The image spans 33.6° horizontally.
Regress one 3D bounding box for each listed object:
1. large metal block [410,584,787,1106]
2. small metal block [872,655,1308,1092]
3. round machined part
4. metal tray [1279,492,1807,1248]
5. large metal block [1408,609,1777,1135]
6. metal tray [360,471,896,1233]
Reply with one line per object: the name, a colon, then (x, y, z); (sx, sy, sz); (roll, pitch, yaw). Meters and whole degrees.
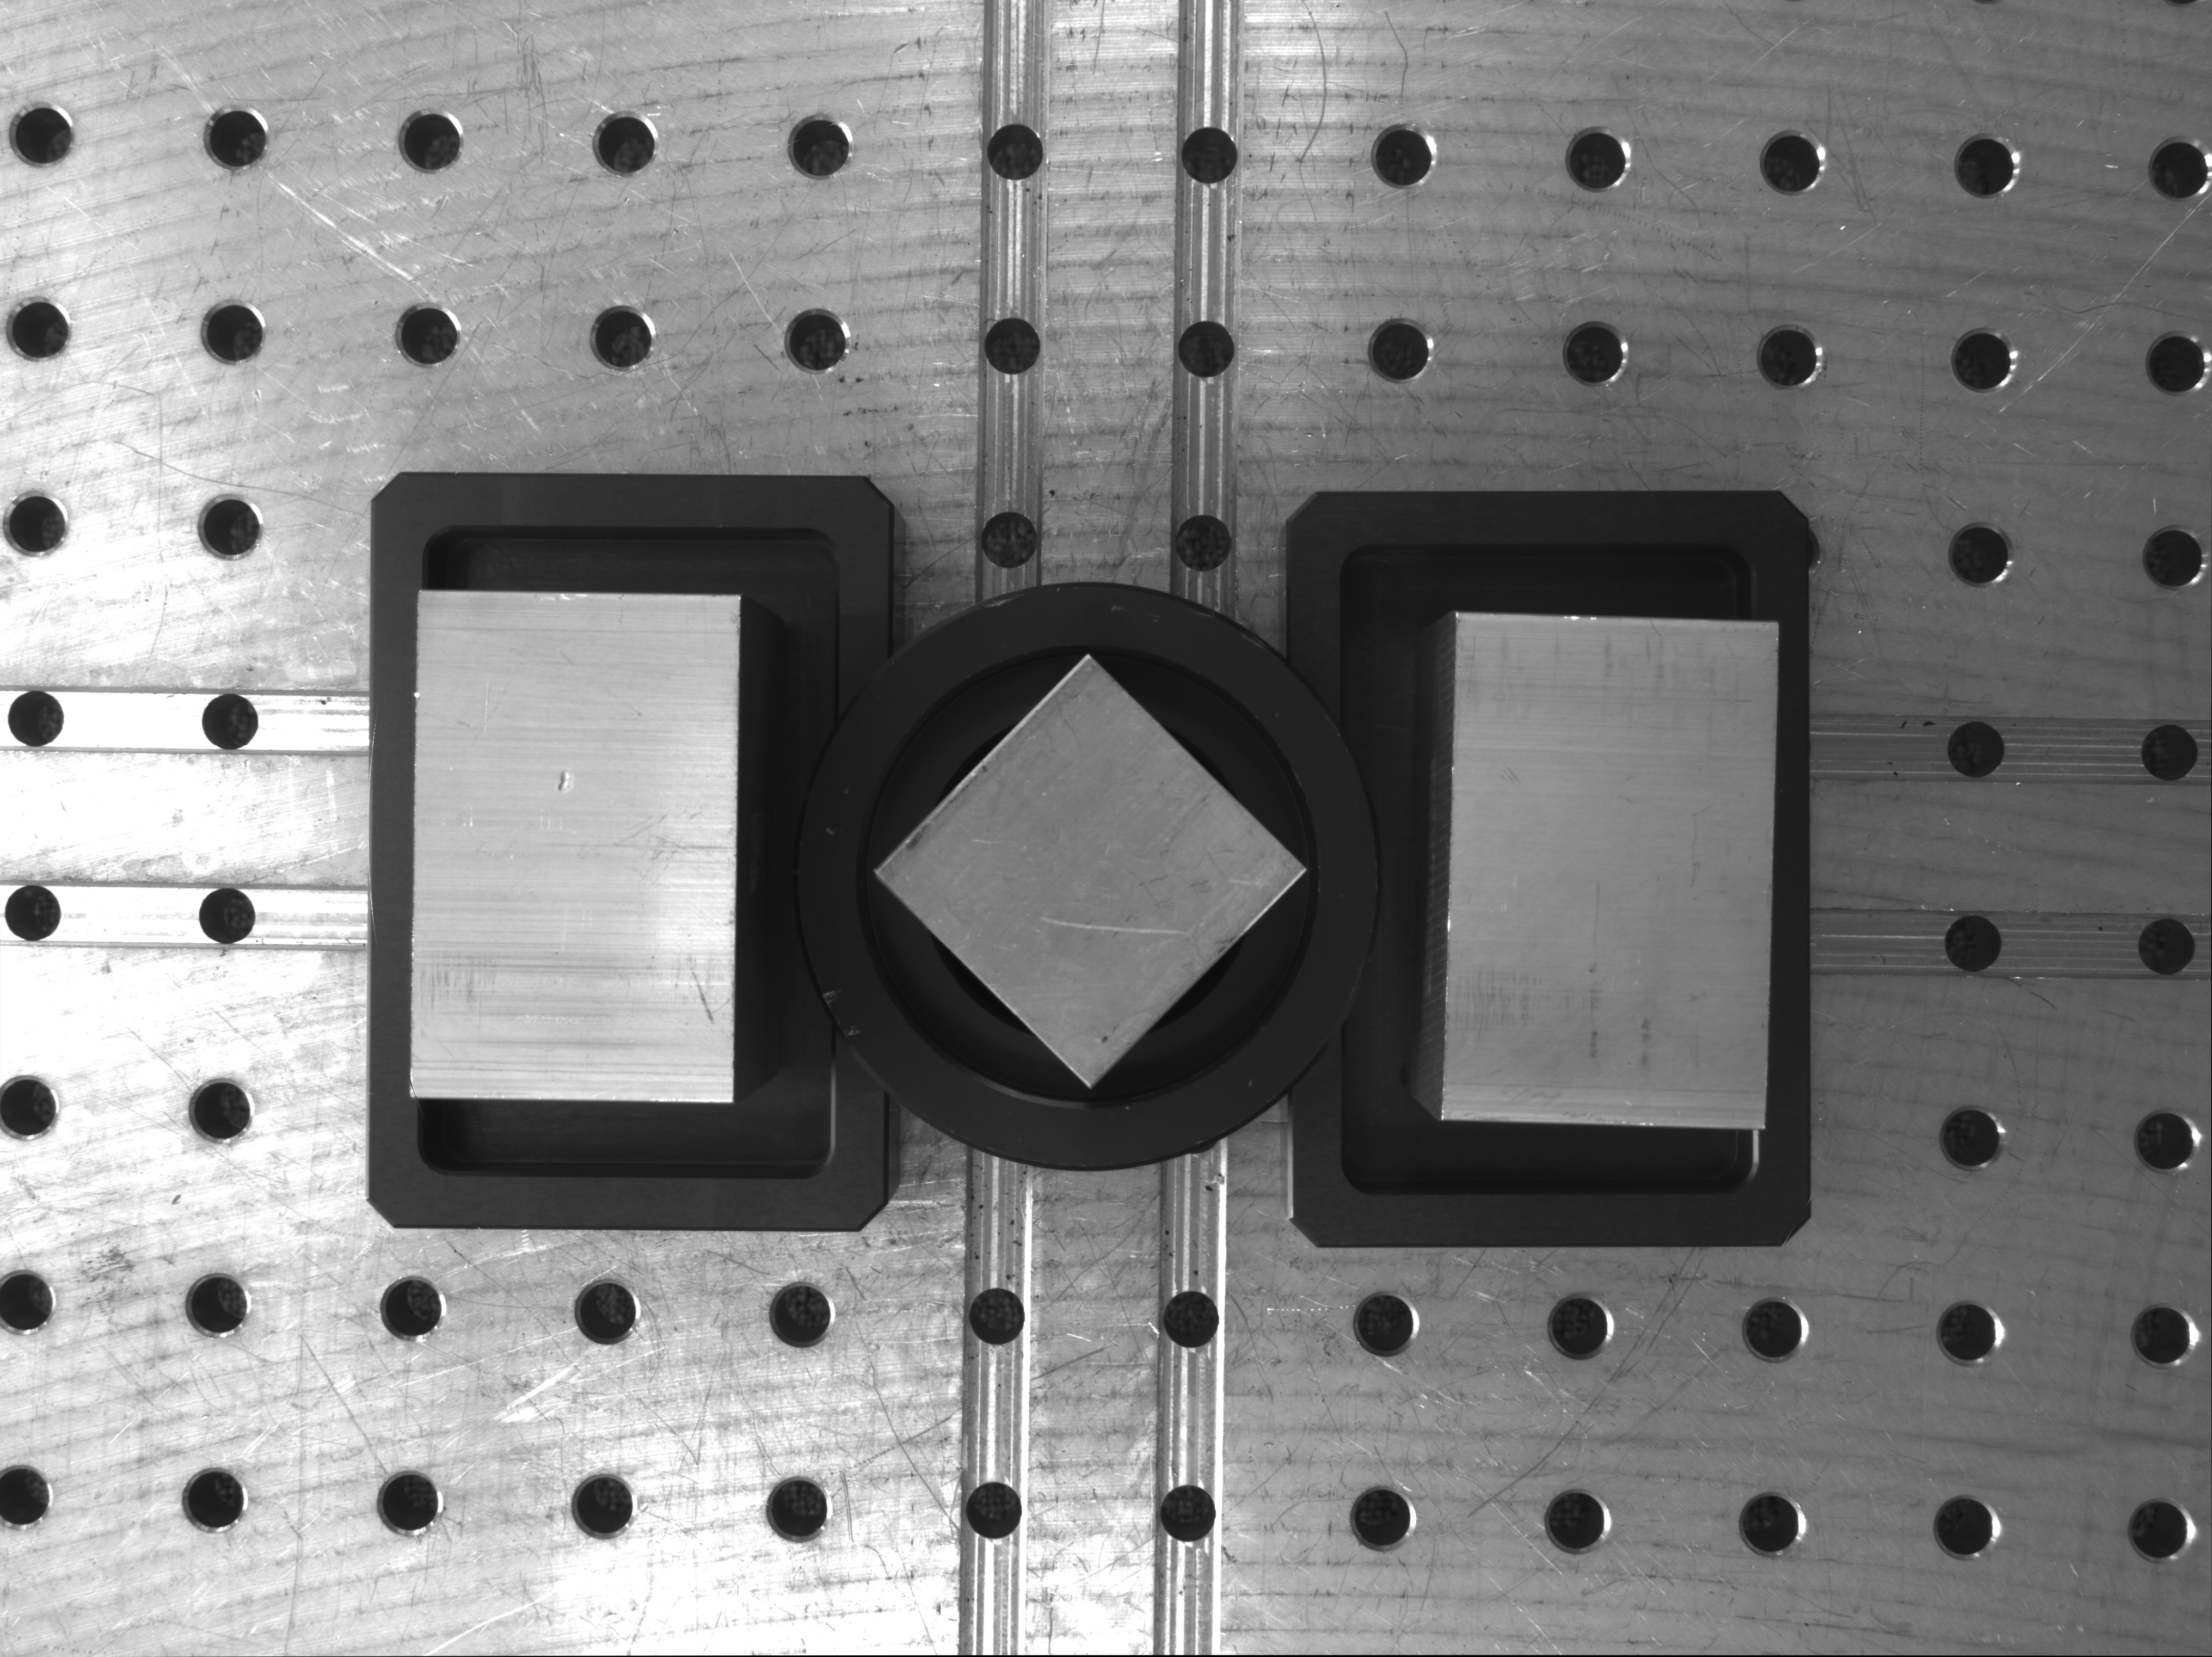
large metal block: (-0.082, 0.003, 0.607); (0.050, 0.080, 0.080); (1, 90, 0)
small metal block: (-0.003, 0.007, 0.607); (0.050, 0.025, 0.050); (45, 90, 0)
round machined part: (-0.003, 0.008, 0.630); (0.098, 0.042, 0.098); (0, 90, 0)
metal tray: (0.075, 0.007, 0.644); (0.090, 0.030, 0.130); (0, 90, 0)
large metal block: (0.078, 0.007, 0.607); (0.050, 0.080, 0.080); (2, 90, 0)
metal tray: (-0.082, 0.004, 0.644); (0.090, 0.030, 0.130); (1, 90, 0)
